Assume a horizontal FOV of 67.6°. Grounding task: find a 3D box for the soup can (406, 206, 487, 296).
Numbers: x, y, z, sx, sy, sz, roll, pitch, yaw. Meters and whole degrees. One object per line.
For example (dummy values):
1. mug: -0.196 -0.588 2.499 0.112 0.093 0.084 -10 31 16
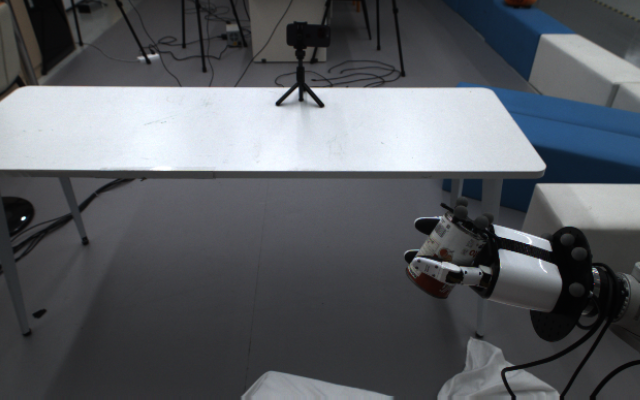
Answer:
1. soup can: 0.173 0.073 0.658 0.067 0.101 0.067 27 18 -9
